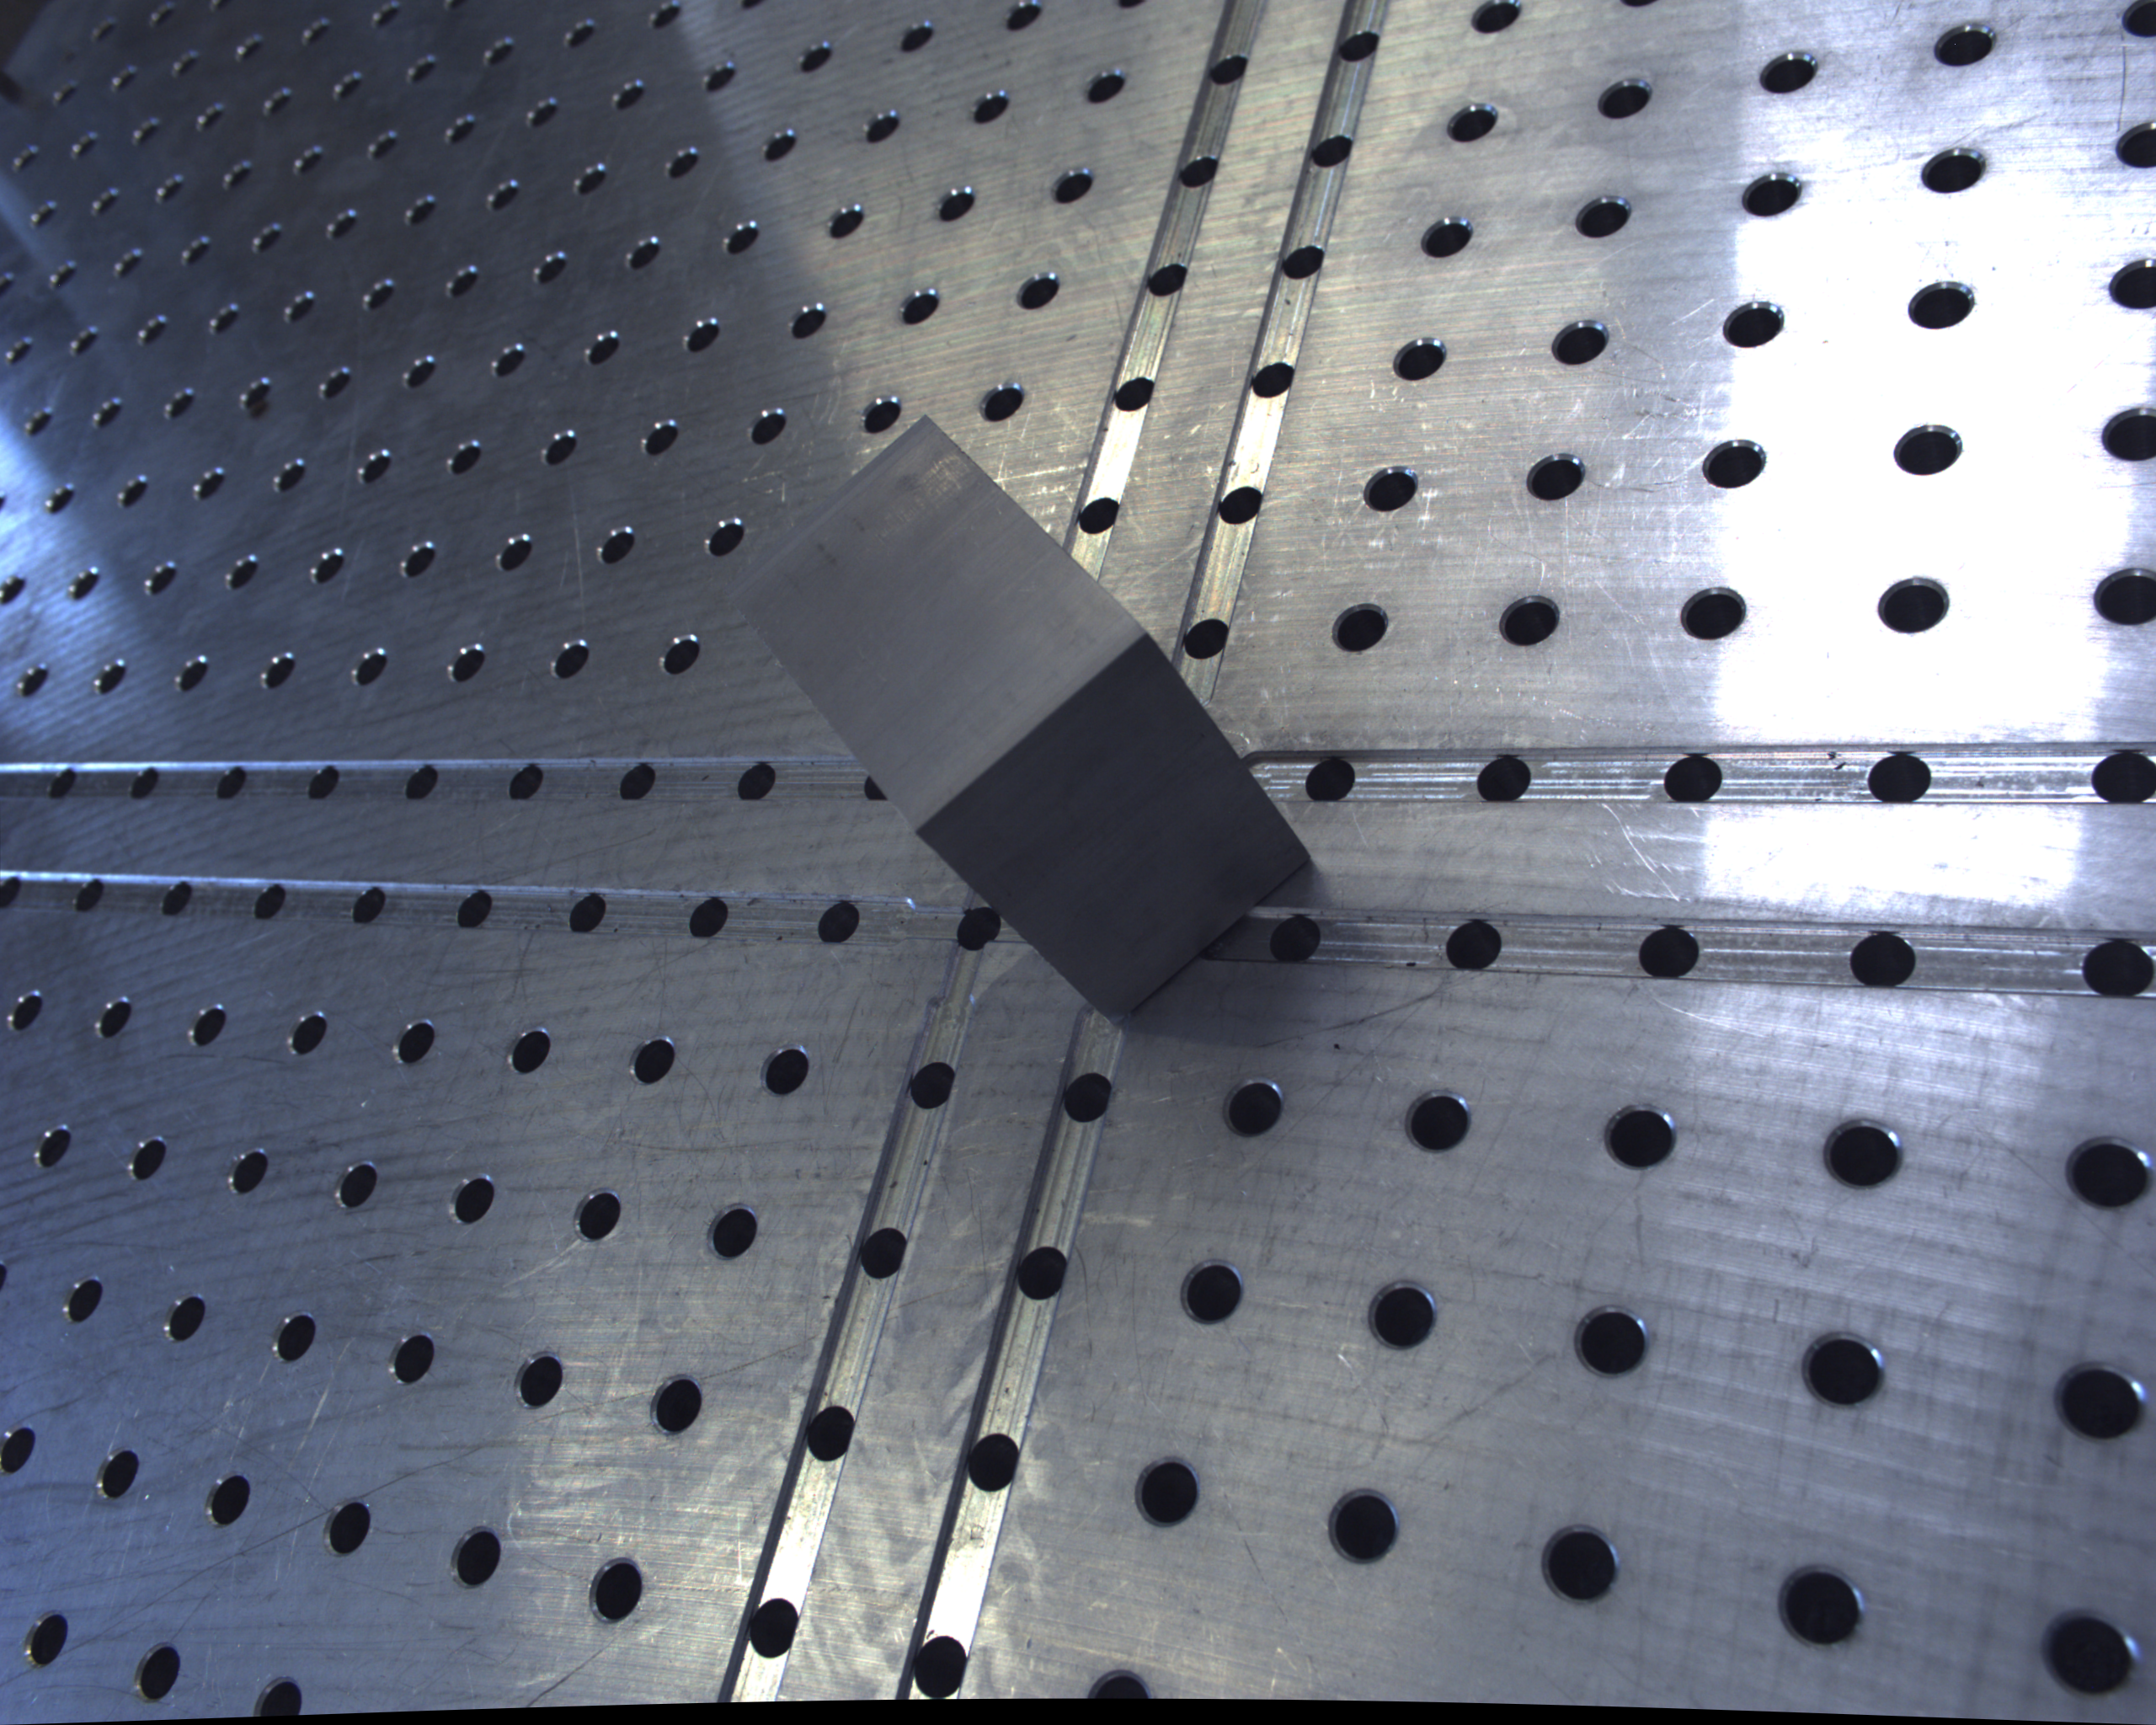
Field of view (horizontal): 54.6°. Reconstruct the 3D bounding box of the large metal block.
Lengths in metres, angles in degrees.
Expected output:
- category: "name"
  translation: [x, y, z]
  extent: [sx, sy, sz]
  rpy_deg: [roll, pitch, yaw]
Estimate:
- category: "large metal block"
  translation: [-0.011, -0.026, 0.395]
  extent: [0.050, 0.080, 0.080]
  rpy_deg: [-42, 51, 0]
